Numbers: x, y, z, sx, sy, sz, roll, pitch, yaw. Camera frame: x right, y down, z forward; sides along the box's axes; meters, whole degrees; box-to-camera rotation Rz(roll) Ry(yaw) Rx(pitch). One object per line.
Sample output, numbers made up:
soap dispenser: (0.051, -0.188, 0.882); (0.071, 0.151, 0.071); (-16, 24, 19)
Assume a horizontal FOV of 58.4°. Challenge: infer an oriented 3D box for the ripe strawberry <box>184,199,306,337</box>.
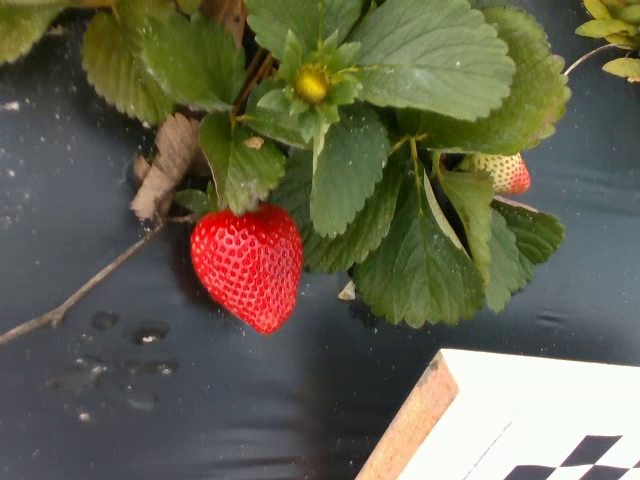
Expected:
ripe strawberry: (-0.022, 0.009, 0.171); (0.037, 0.046, 0.036); (-22, -10, 9)
